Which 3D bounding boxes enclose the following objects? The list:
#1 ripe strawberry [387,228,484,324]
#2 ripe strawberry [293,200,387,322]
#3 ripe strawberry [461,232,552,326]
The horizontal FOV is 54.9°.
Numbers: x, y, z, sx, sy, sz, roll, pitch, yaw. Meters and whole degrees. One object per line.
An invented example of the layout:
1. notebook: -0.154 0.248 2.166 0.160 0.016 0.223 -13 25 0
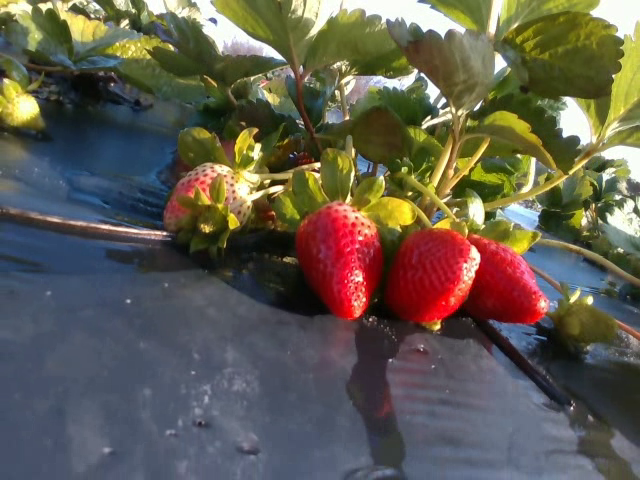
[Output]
1. ripe strawberry: 0.037 0.008 0.187 0.030 0.037 0.039 23 -13 -11
2. ripe strawberry: 0.008 0.005 0.183 0.031 0.023 0.046 14 39 -18
3. ripe strawberry: 0.062 0.017 0.199 0.035 0.034 0.041 11 4 -20
